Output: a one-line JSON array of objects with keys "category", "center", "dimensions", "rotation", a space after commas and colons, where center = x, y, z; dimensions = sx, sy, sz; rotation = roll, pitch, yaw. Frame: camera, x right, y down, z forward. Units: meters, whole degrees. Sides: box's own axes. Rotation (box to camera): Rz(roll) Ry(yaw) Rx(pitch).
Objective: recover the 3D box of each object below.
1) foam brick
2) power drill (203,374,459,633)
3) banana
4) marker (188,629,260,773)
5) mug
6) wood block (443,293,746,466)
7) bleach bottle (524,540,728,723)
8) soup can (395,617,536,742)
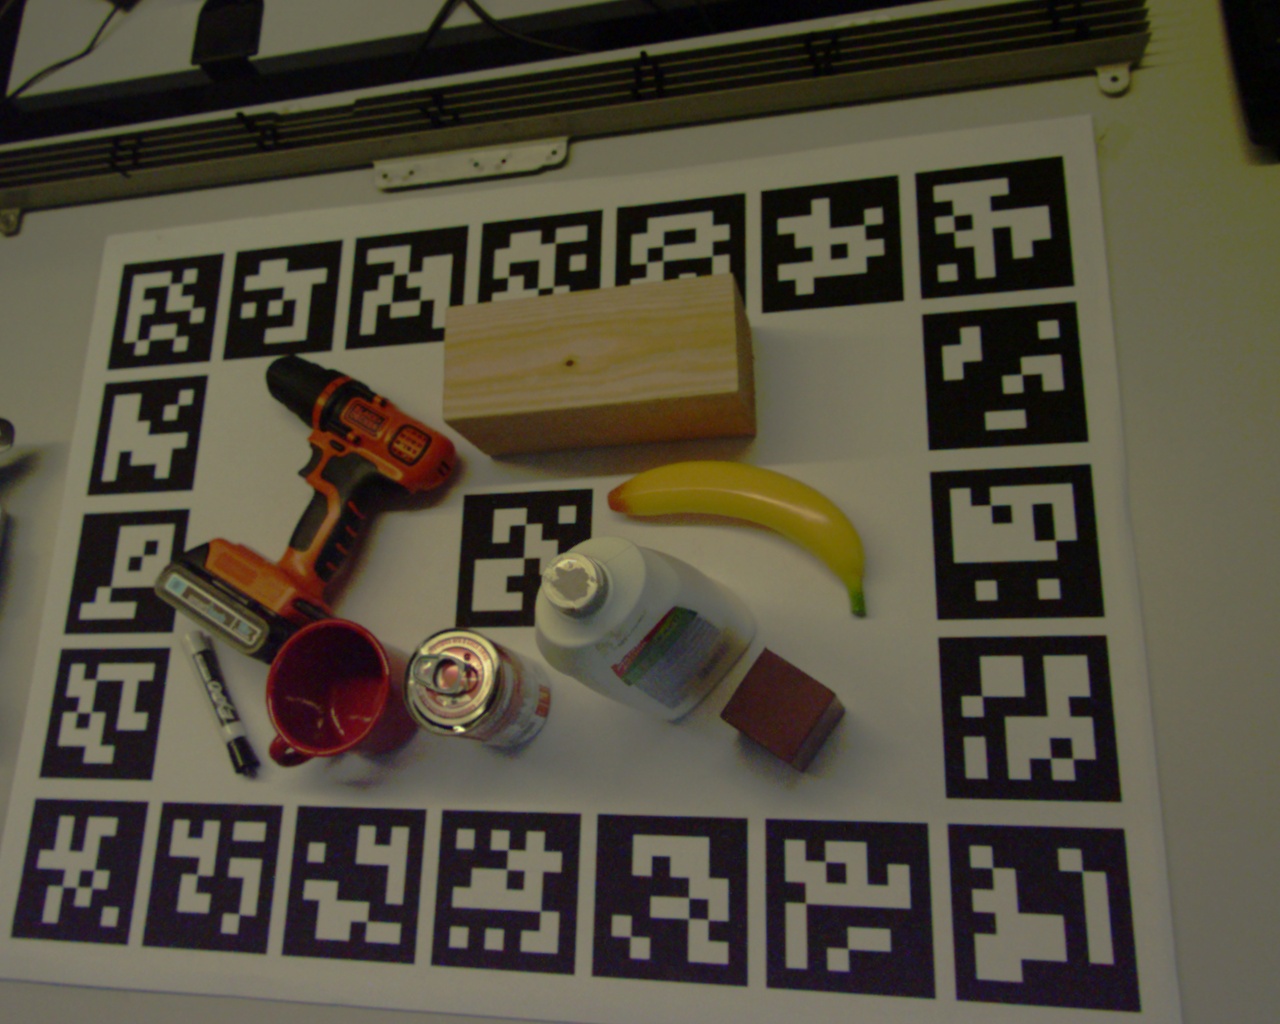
[{"category": "foam brick", "center": [0.085, 0.131, 0.750], "dimensions": [0.053, 0.077, 0.051], "rotation": [33, 82, 23]}, {"category": "power drill", "center": [-0.257, -0.003, 0.898], "dimensions": [0.186, 0.057, 0.187], "rotation": [28, 81, 18]}, {"category": "banana", "center": [0.050, -0.007, 0.817], "dimensions": [0.199, 0.038, 0.074], "rotation": [14, 92, 16]}, {"category": "marker", "center": [-0.324, 0.148, 0.889], "dimensions": [0.020, 0.019, 0.122], "rotation": [-32, 69, 6]}, {"category": "mug", "center": [-0.220, 0.131, 0.828], "dimensions": [0.094, 0.081, 0.117], "rotation": [43, 91, 20]}, {"category": "wood block", "center": [-0.031, -0.095, 0.843], "dimensions": [0.208, 0.090, 0.090], "rotation": [-3, 74, 14]}, {"category": "bleach bottle", "center": [-0.011, 0.066, 0.702], "dimensions": [0.068, 0.248, 0.102], "rotation": [28, 81, 21]}, {"category": "soup can", "center": [-0.118, 0.119, 0.788], "dimensions": [0.068, 0.101, 0.068], "rotation": [-5, 69, 11]}]
